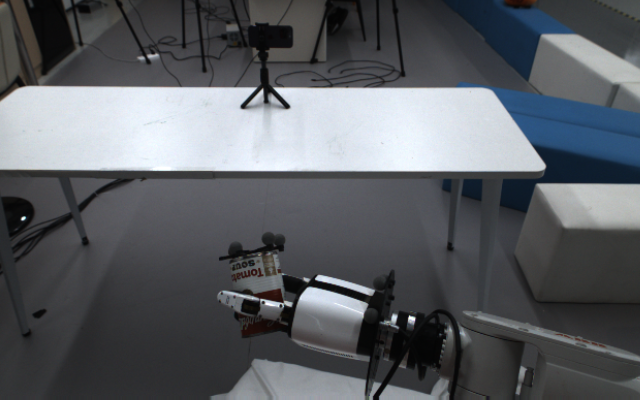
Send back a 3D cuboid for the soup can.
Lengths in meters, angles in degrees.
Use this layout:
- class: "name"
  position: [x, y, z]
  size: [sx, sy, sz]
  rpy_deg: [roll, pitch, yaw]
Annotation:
- class: "soup can"
  position: [-0.078, 0.125, 0.641]
  size: [0.067, 0.067, 0.101]
  rpy_deg: [-10, 80, -16]
